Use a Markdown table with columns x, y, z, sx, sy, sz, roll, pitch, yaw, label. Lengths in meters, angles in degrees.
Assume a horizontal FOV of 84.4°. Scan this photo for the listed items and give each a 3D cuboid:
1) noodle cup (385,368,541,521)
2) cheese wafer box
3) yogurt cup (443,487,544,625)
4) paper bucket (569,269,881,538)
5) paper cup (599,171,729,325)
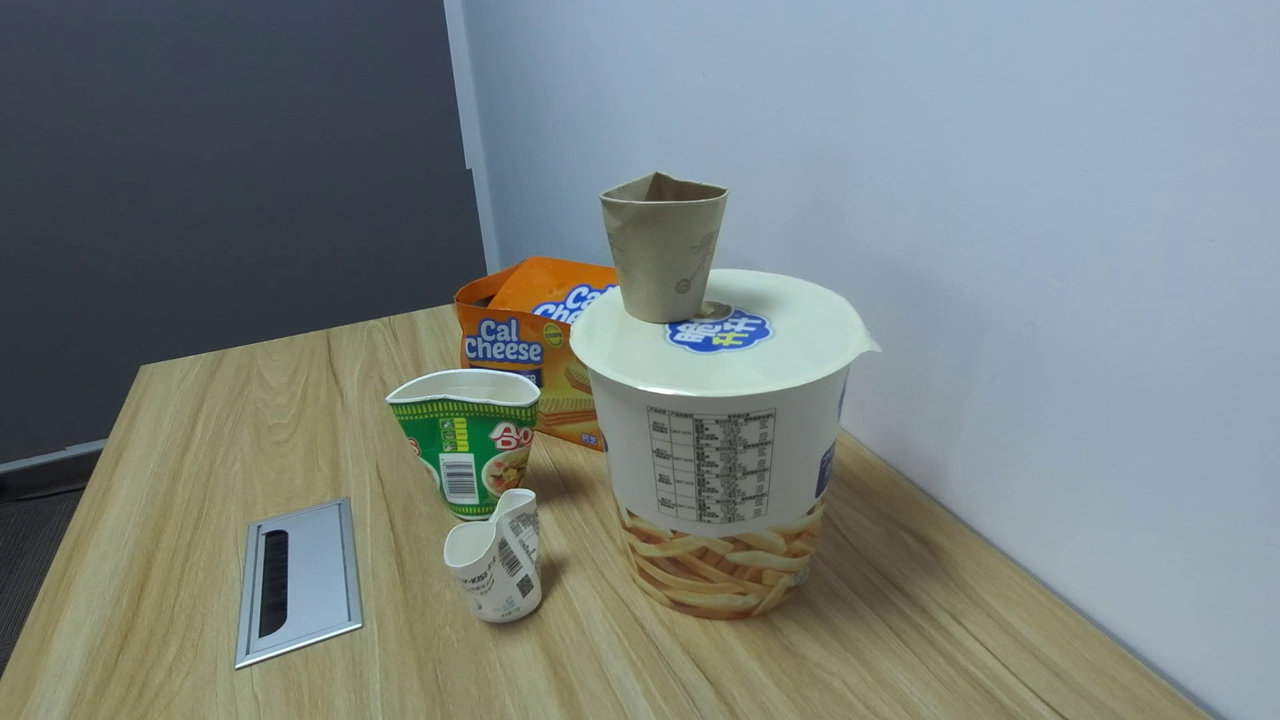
| x | y | z | sx | sy | sz | roll | pitch | yaw | label |
| --- | --- | --- | --- | --- | --- | --- | --- | --- | --- |
| -0.137 | 0.070 | 0.592 | 0.114 | 0.111 | 0.070 | 13 | 35 | 27 | noodle cup |
| -0.065 | -0.012 | 0.738 | 0.229 | 0.132 | 0.152 | 13 | 34 | 29 | cheese wafer box |
| -0.099 | 0.141 | 0.497 | 0.053 | 0.071 | 0.075 | -2 | 29 | 2 | yogurt cup |
| 0.054 | 0.058 | 0.502 | 0.198 | 0.195 | 0.198 | -3 | 29 | 2 | paper bucket |
| 0.015 | -0.071 | 0.461 | 0.071 | 0.084 | 0.066 | 20 | 36 | 32 | paper cup |
